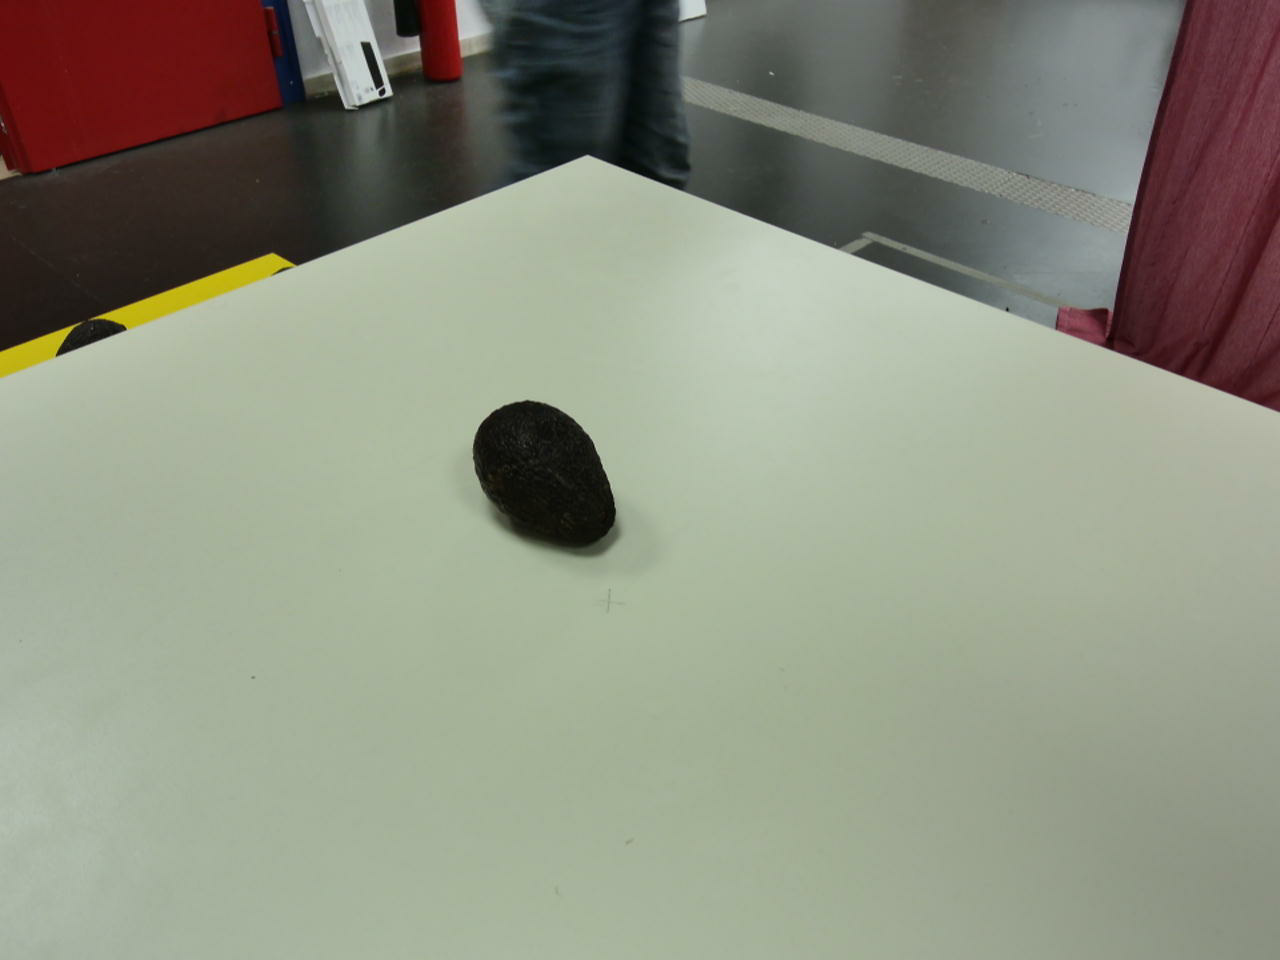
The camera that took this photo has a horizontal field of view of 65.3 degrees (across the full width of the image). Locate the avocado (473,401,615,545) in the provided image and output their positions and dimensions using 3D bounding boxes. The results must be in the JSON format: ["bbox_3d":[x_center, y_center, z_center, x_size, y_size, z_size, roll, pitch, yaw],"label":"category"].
[{"bbox_3d":[-0.057,-0.005,0.572,0.070,0.069,0.090,-13,40,-19],"label":"avocado"}]
